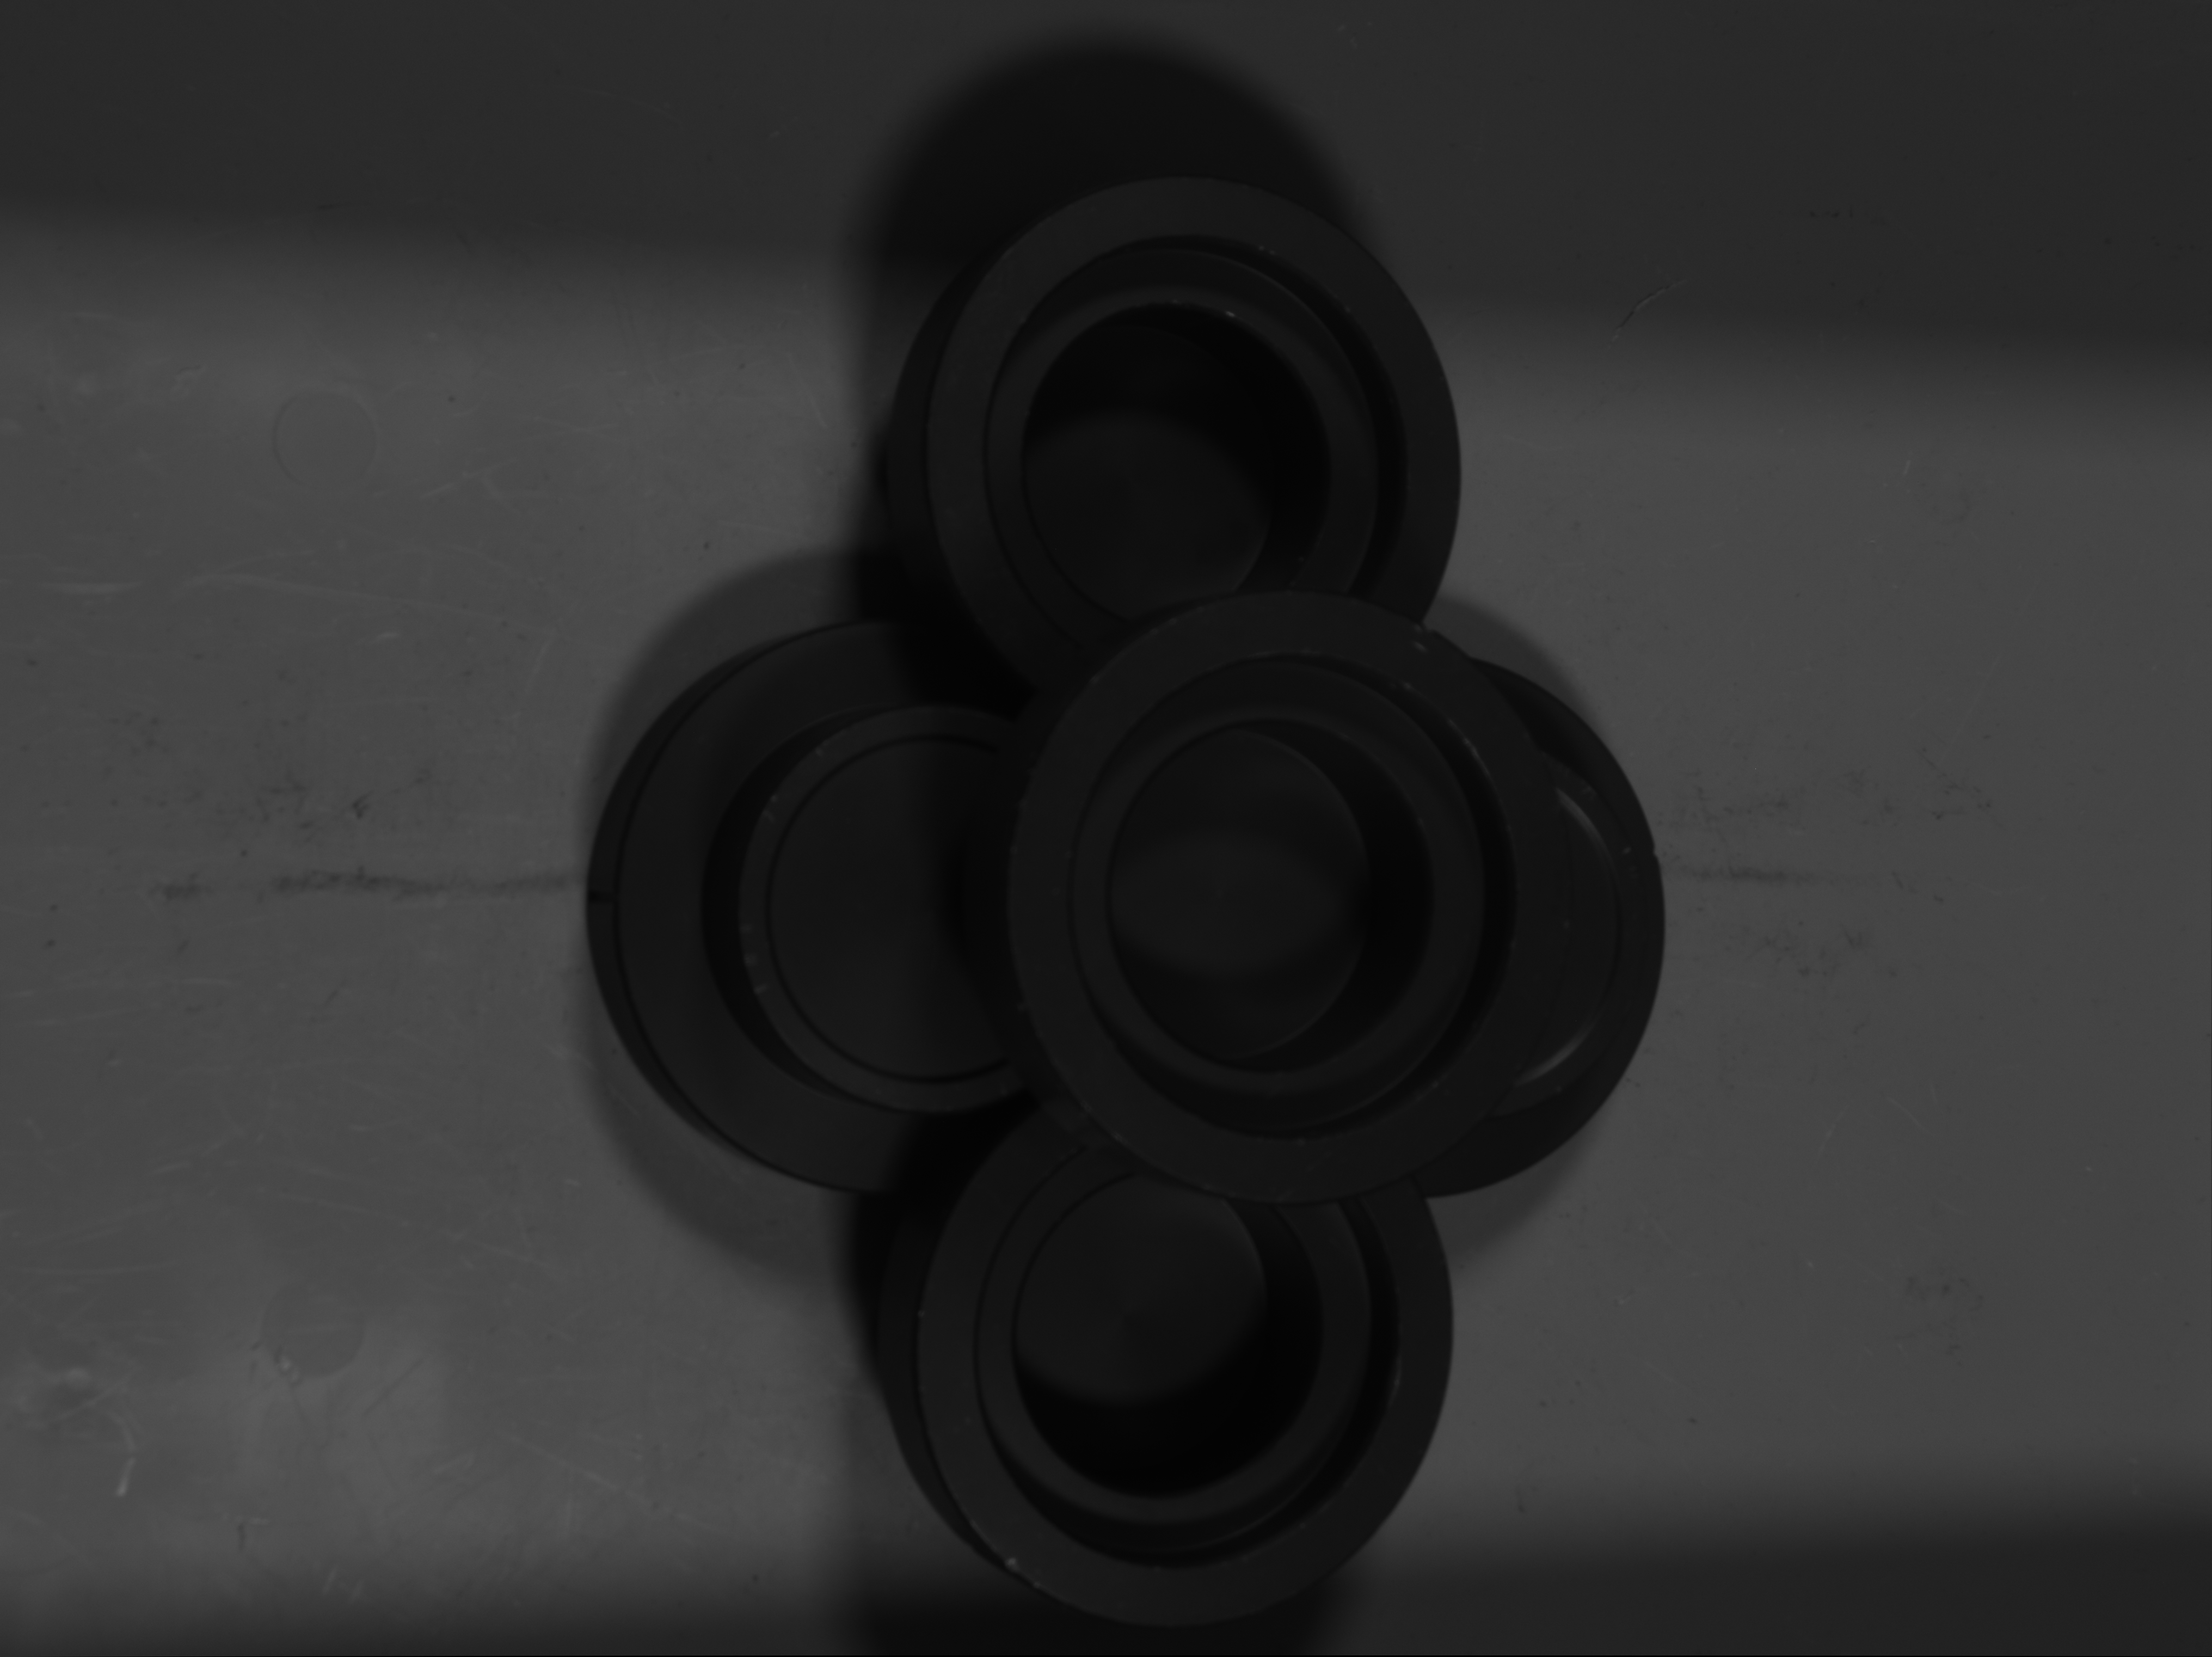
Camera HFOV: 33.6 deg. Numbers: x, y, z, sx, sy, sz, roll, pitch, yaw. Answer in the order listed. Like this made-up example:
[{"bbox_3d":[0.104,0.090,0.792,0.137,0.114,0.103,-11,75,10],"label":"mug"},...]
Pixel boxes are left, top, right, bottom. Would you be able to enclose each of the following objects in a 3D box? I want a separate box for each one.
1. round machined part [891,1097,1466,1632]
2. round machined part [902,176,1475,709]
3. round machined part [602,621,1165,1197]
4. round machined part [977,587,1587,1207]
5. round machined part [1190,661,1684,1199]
[{"bbox_3d":[0.009,0.086,0.636,0.098,0.042,0.098,0,90,-20],"label":"round machined part"},{"bbox_3d":[0.011,-0.061,0.636,0.098,0.042,0.098,0,90,-20],"label":"round machined part"},{"bbox_3d":[-0.033,0.014,0.621,0.098,0.042,0.098,0,90,-20],"label":"round machined part"},{"bbox_3d":[0.025,0.011,0.597,0.098,0.042,0.098,0,90,-20],"label":"round machined part"},{"bbox_3d":[0.060,0.017,0.654,0.098,0.042,0.098,0,90,-20],"label":"round machined part"}]
